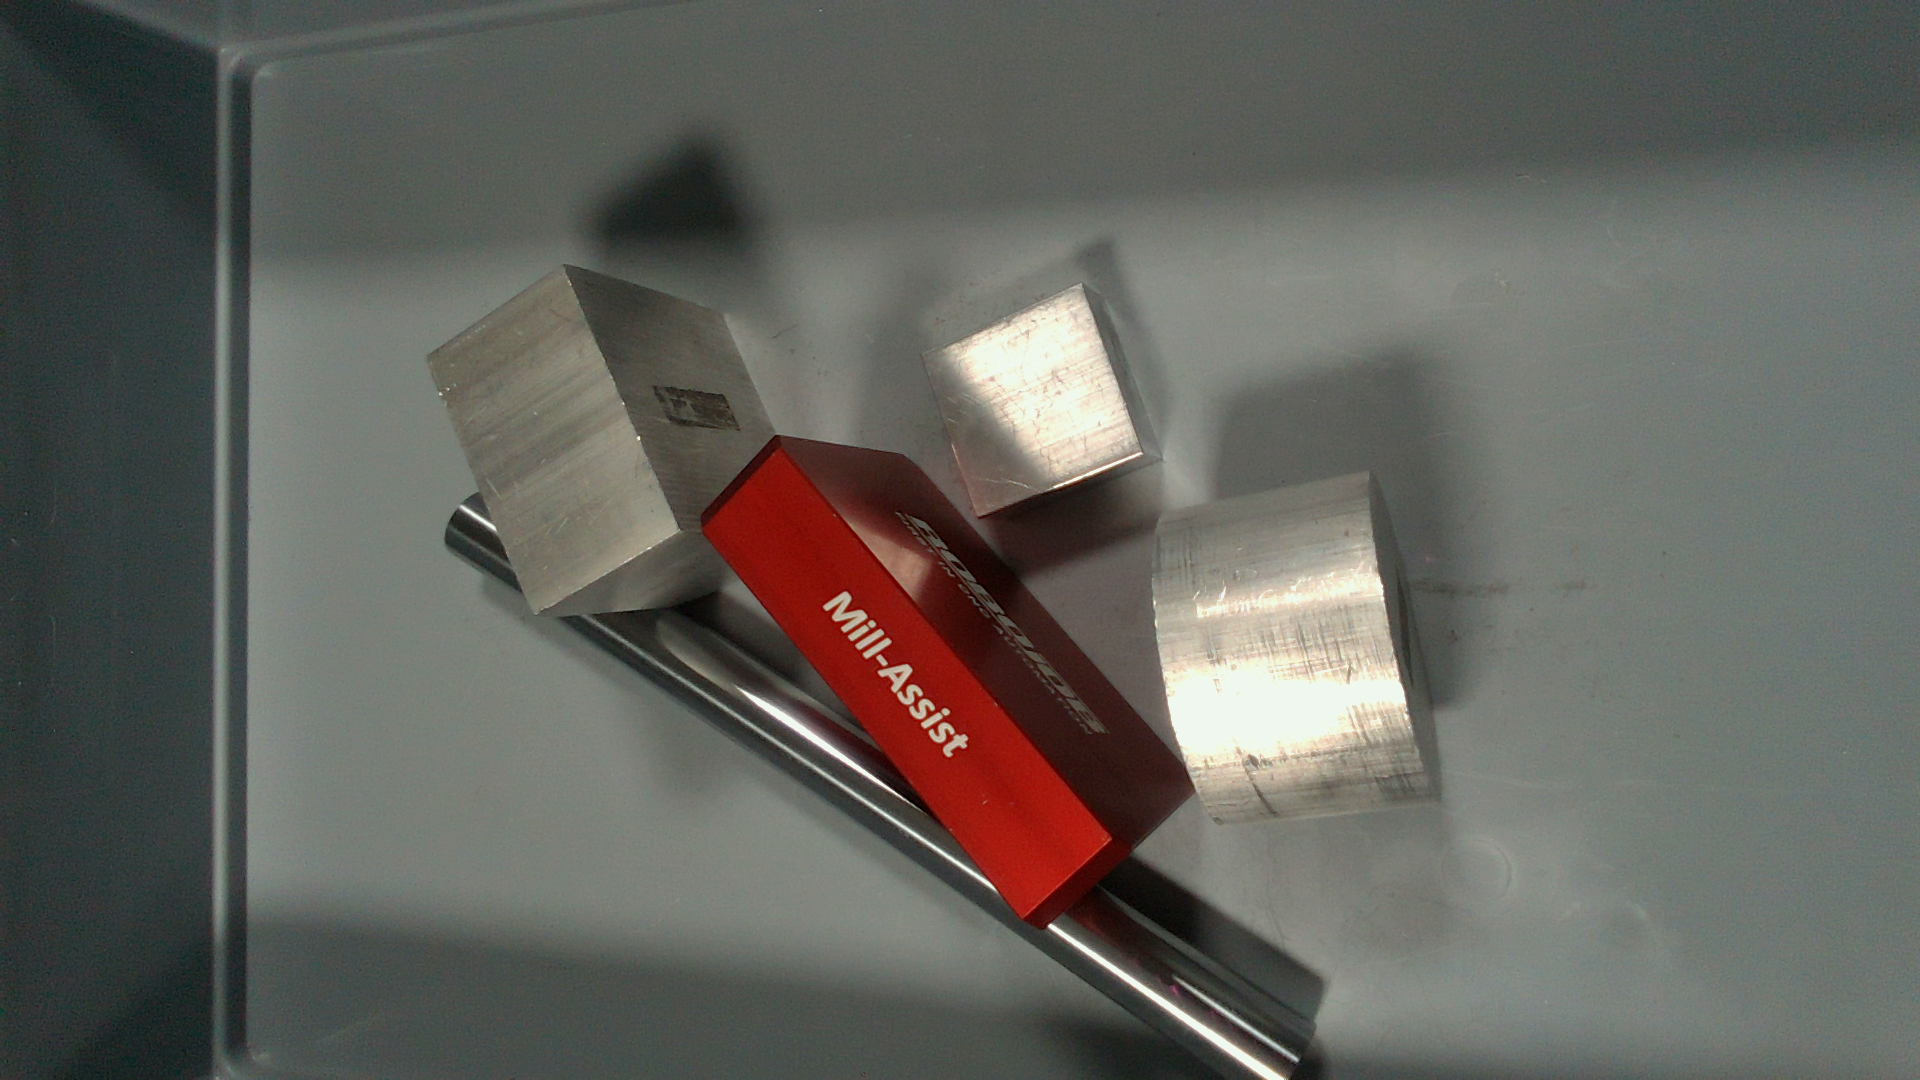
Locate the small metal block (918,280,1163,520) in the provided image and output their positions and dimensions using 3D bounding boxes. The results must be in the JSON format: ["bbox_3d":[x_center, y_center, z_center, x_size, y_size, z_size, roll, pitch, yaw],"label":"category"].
[{"bbox_3d":[0.023,-0.038,0.386,0.050,0.025,0.050,-21,83,19],"label":"small metal block"}]

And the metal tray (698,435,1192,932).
[{"bbox_3d":[0.000,0.032,0.359,0.030,0.090,0.130,-45,76,14],"label":"metal tray"}]

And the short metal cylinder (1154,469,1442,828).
[{"bbox_3d":[0.083,0.027,0.335,0.050,0.080,0.080,-12,86,21],"label":"short metal cylinder"}]

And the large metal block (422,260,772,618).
[{"bbox_3d":[-0.095,-0.027,0.400,0.050,0.080,0.080,-28,81,18],"label":"large metal block"}]

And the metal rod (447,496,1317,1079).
[{"bbox_3d":[-0.035,0.066,0.408,0.299,0.025,0.025,30,100,17],"label":"metal rod"}]
